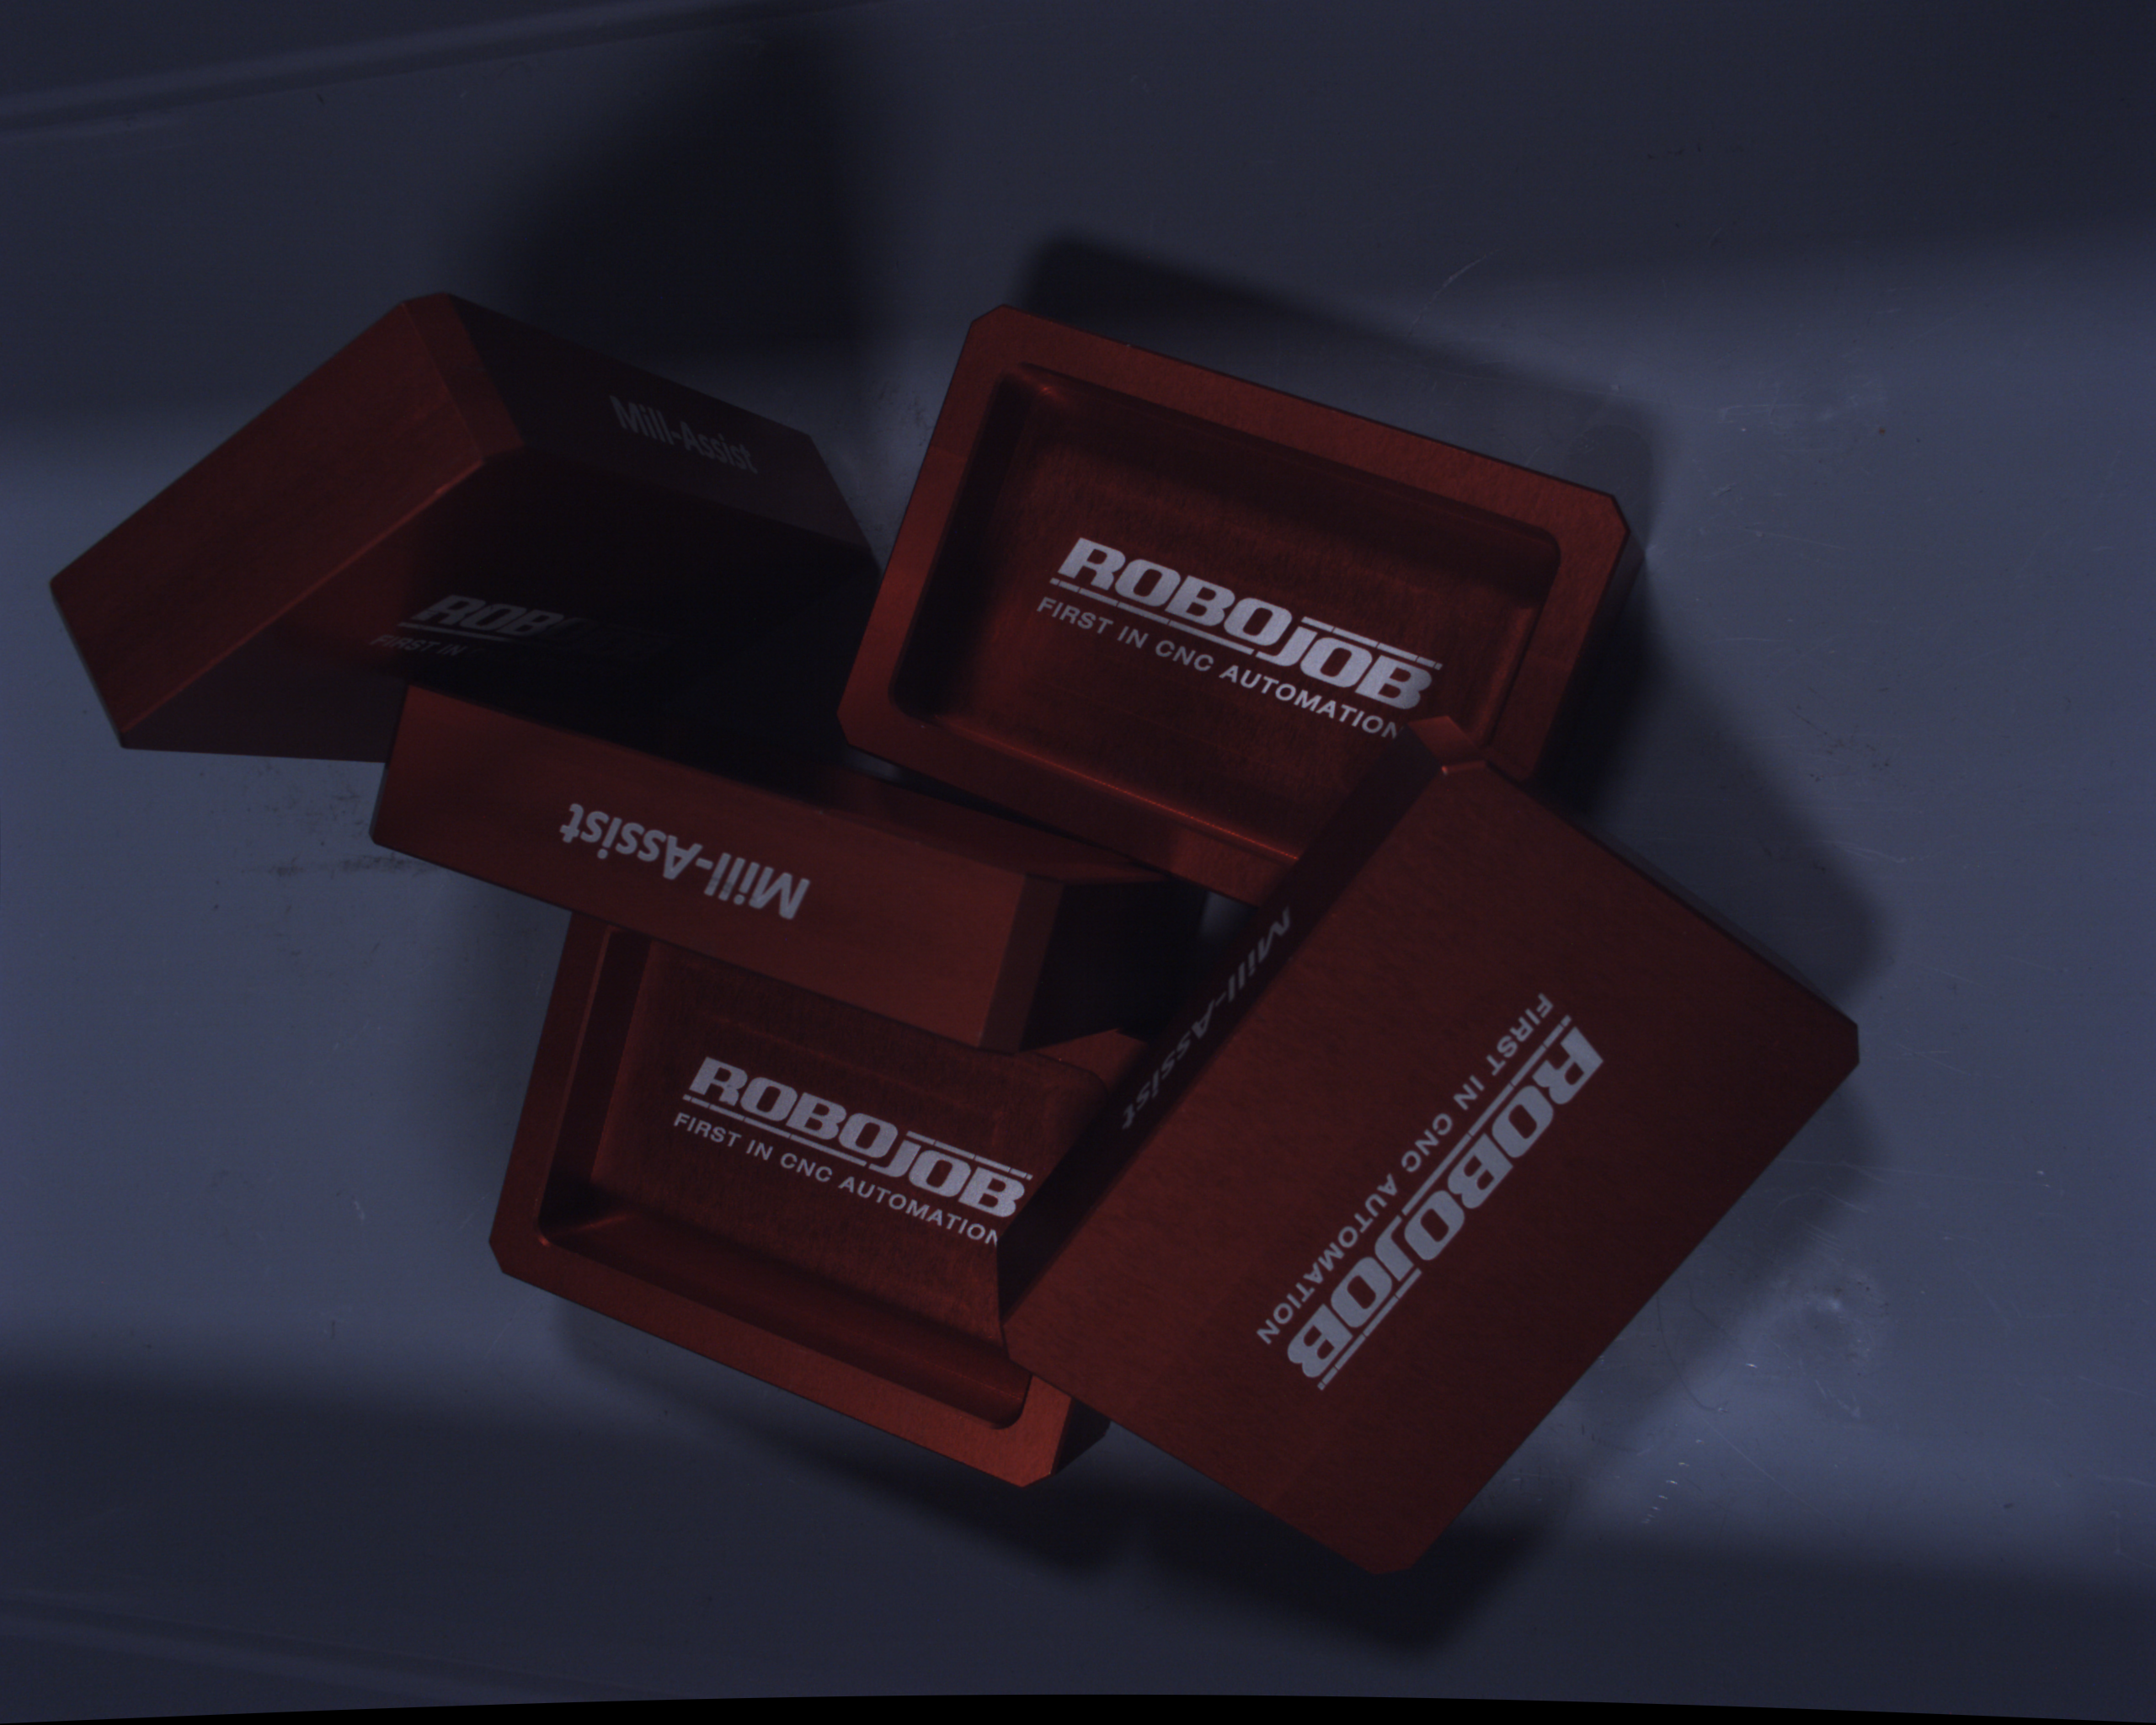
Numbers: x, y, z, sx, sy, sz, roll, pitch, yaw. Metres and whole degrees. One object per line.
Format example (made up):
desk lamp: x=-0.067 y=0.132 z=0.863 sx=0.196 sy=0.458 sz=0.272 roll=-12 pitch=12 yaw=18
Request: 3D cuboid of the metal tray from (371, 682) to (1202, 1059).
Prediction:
metal tray: x=-0.051 y=-0.001 z=0.390 sx=0.130 sy=0.090 sz=0.030 roll=17 pitch=96 yaw=19

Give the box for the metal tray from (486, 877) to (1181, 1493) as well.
metal tray: x=-0.048 y=0.059 z=0.420 sx=0.130 sy=0.030 sz=0.089 roll=17 pitch=96 yaw=18

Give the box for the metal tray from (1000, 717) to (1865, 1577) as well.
metal tray: x=0.059 y=0.052 z=0.364 sx=0.090 sy=0.030 sz=0.130 roll=34 pitch=103 yaw=-13

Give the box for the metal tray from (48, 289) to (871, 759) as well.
metal tray: x=-0.107 y=-0.055 z=0.388 sx=0.090 sy=0.130 sz=0.030 roll=-31 pitch=80 yaw=18

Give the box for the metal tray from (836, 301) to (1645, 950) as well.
metal tray: x=0.029 y=-0.043 z=0.395 sx=0.130 sy=0.030 sz=0.089 roll=22 pitch=97 yaw=18
